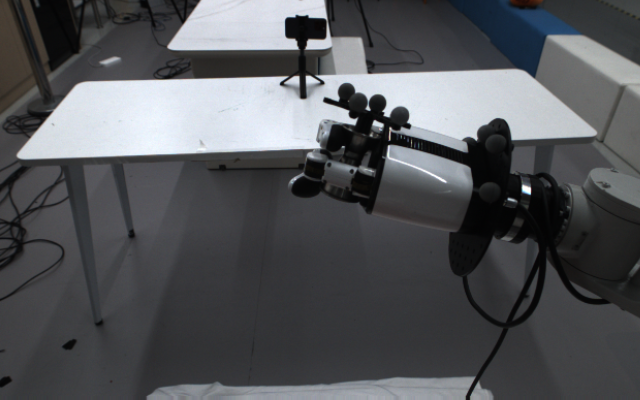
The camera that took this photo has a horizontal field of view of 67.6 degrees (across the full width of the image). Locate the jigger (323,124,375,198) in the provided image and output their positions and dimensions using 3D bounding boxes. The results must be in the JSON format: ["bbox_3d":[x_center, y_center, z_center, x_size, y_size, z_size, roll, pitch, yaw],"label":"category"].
[{"bbox_3d":[0.032,-0.036,0.482,0.043,0.071,0.043,18,17,-6],"label":"jigger"}]
